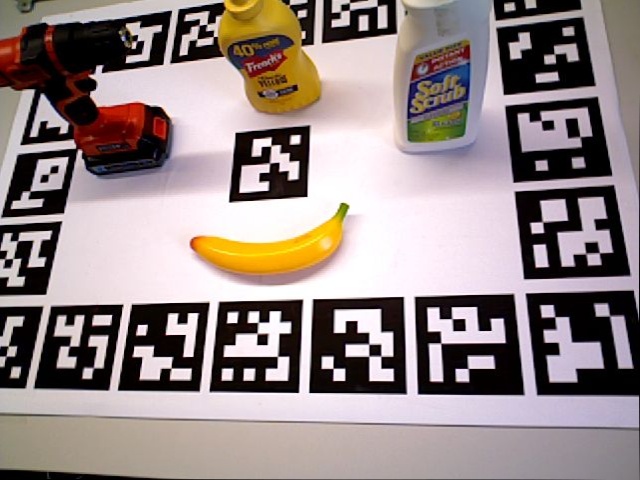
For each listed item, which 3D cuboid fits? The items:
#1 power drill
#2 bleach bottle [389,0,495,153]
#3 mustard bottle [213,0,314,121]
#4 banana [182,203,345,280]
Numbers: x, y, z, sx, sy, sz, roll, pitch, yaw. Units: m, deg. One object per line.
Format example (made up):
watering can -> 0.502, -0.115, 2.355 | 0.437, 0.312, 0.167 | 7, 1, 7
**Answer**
power drill -> -0.260, -0.173, 0.619 | 0.185, 0.188, 0.057 | -9, 67, 13
bleach bottle -> 0.110, -0.176, 0.529 | 0.103, 0.252, 0.067 | 5, 70, 14
mustard bottle -> -0.069, -0.215, 0.621 | 0.096, 0.193, 0.058 | -10, 67, 7
banana -> -0.065, 0.009, 0.610 | 0.198, 0.039, 0.073 | -9, 70, 13
